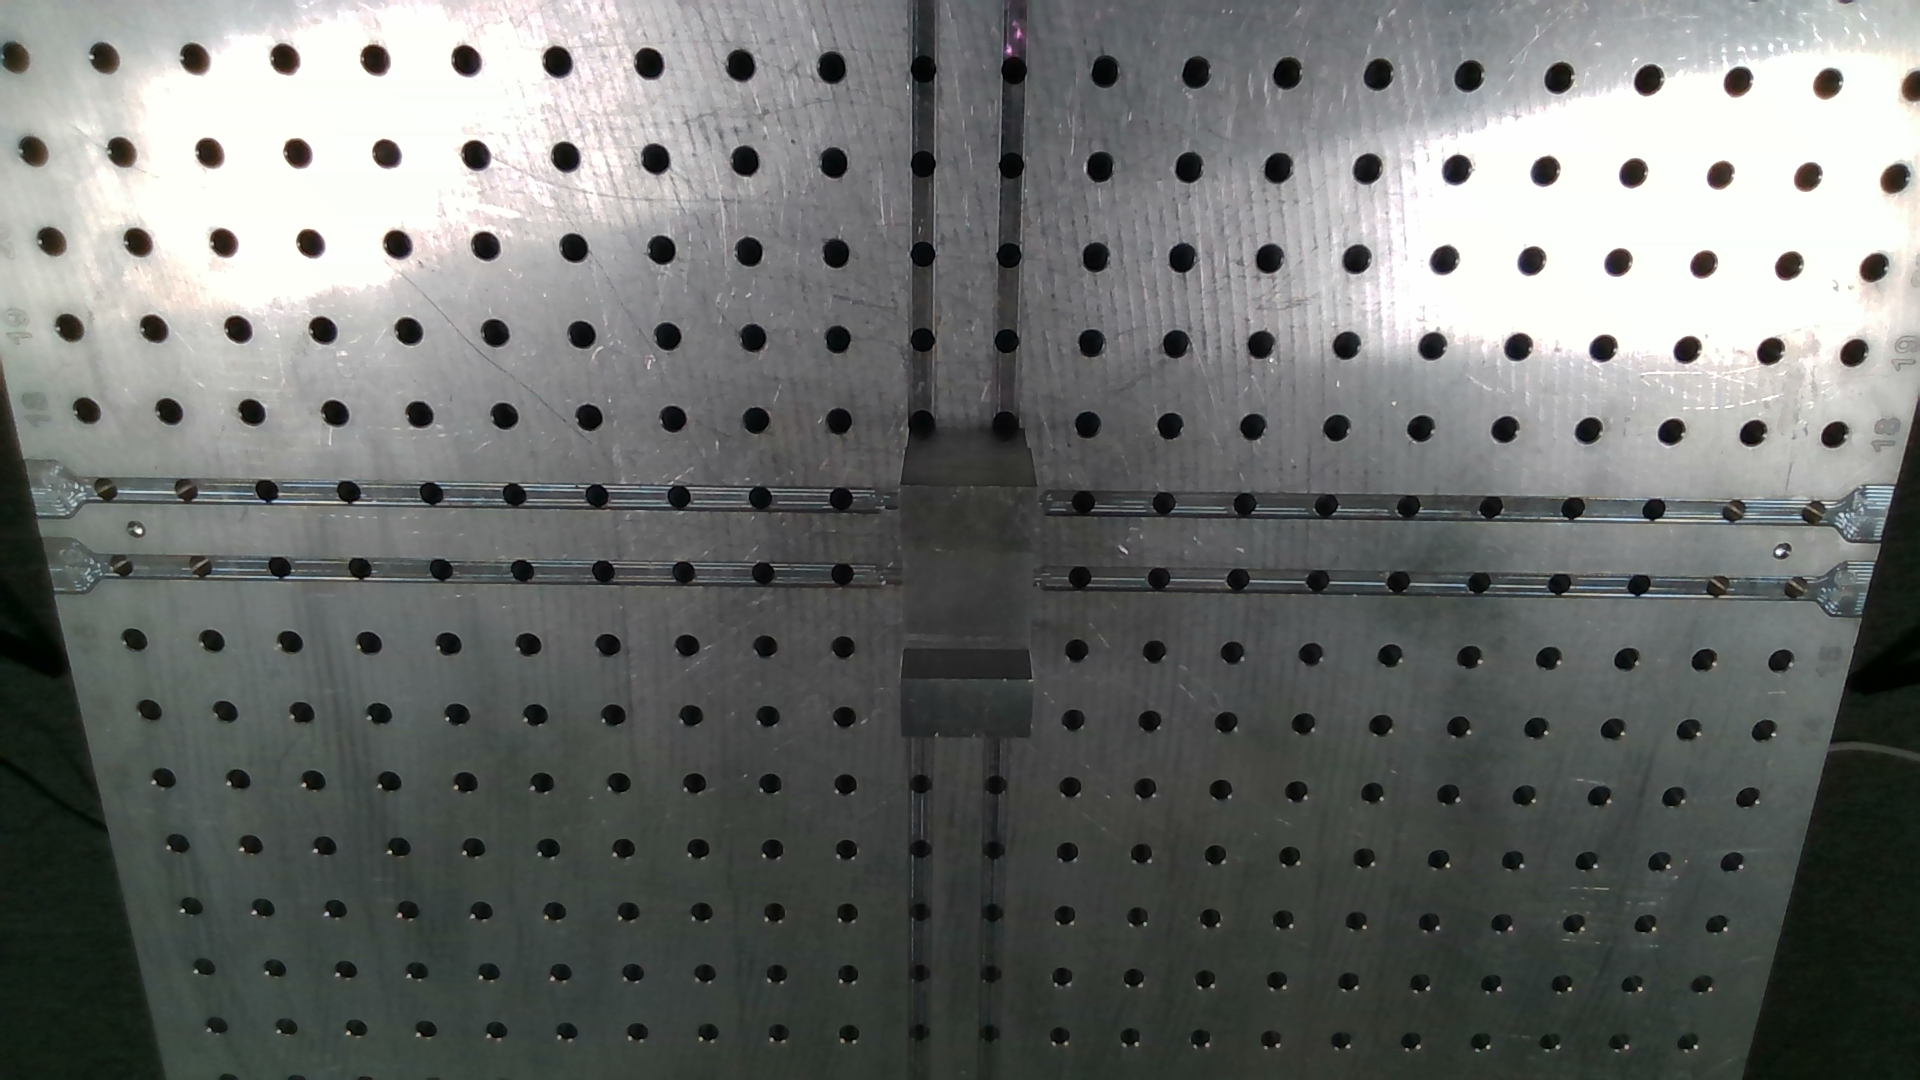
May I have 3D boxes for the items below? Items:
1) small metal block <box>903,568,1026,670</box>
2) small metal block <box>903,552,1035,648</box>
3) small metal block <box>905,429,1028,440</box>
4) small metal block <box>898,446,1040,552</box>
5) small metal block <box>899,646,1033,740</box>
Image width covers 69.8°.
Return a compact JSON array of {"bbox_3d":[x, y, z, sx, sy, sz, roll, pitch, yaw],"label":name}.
[{"bbox_3d":[0.002,0.033,0.586,0.050,0.050,0.025,-1,110,0],"label":"small metal block"},{"bbox_3d":[0.003,0.014,0.540,0.050,0.025,0.050,1,110,0],"label":"small metal block"},{"bbox_3d":[0.003,-0.028,0.563,0.050,0.050,0.025,1,110,0],"label":"small metal block"},{"bbox_3d":[0.003,-0.016,0.514,0.050,0.050,0.025,0,110,-1],"label":"small metal block"},{"bbox_3d":[0.002,0.055,0.539,0.050,0.050,0.025,0,110,-1],"label":"small metal block"}]
